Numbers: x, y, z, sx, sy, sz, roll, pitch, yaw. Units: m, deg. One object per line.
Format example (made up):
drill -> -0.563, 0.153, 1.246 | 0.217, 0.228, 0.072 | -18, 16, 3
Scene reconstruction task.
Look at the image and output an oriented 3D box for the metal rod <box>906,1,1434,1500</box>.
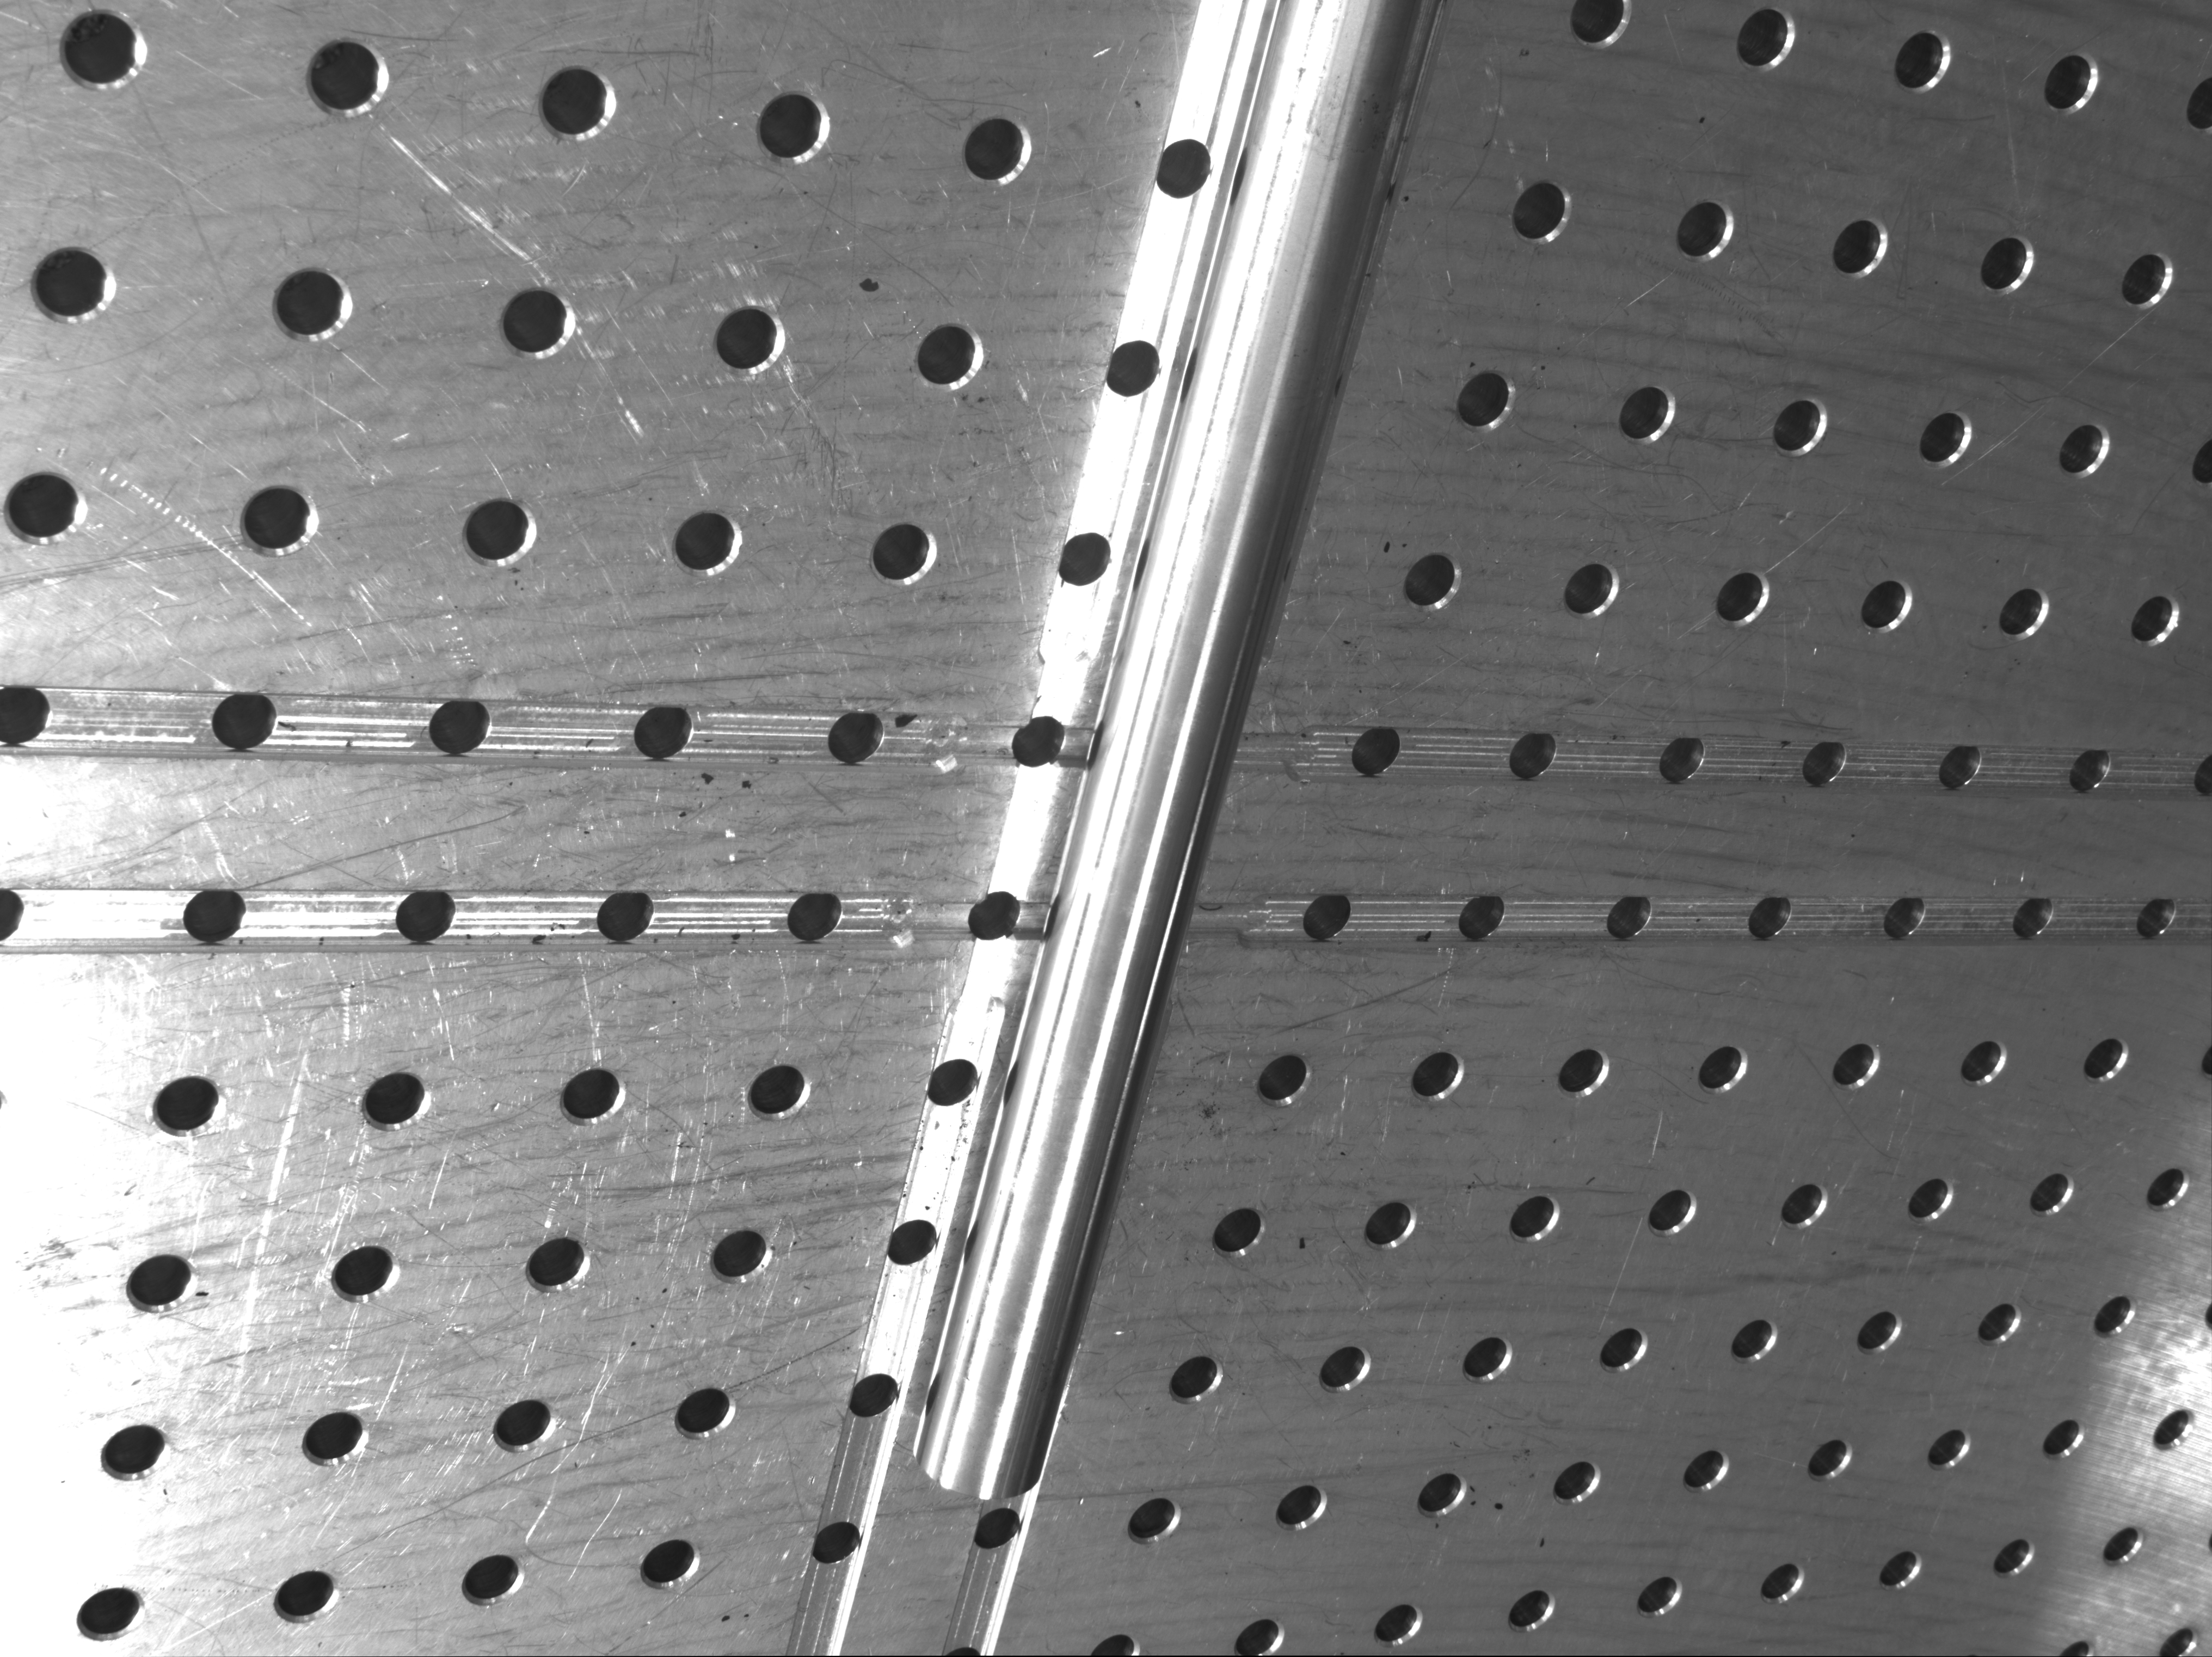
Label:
metal rod -> 0.008, -0.012, 0.638 | 0.025, 0.025, 0.300 | 0, 118, -28
